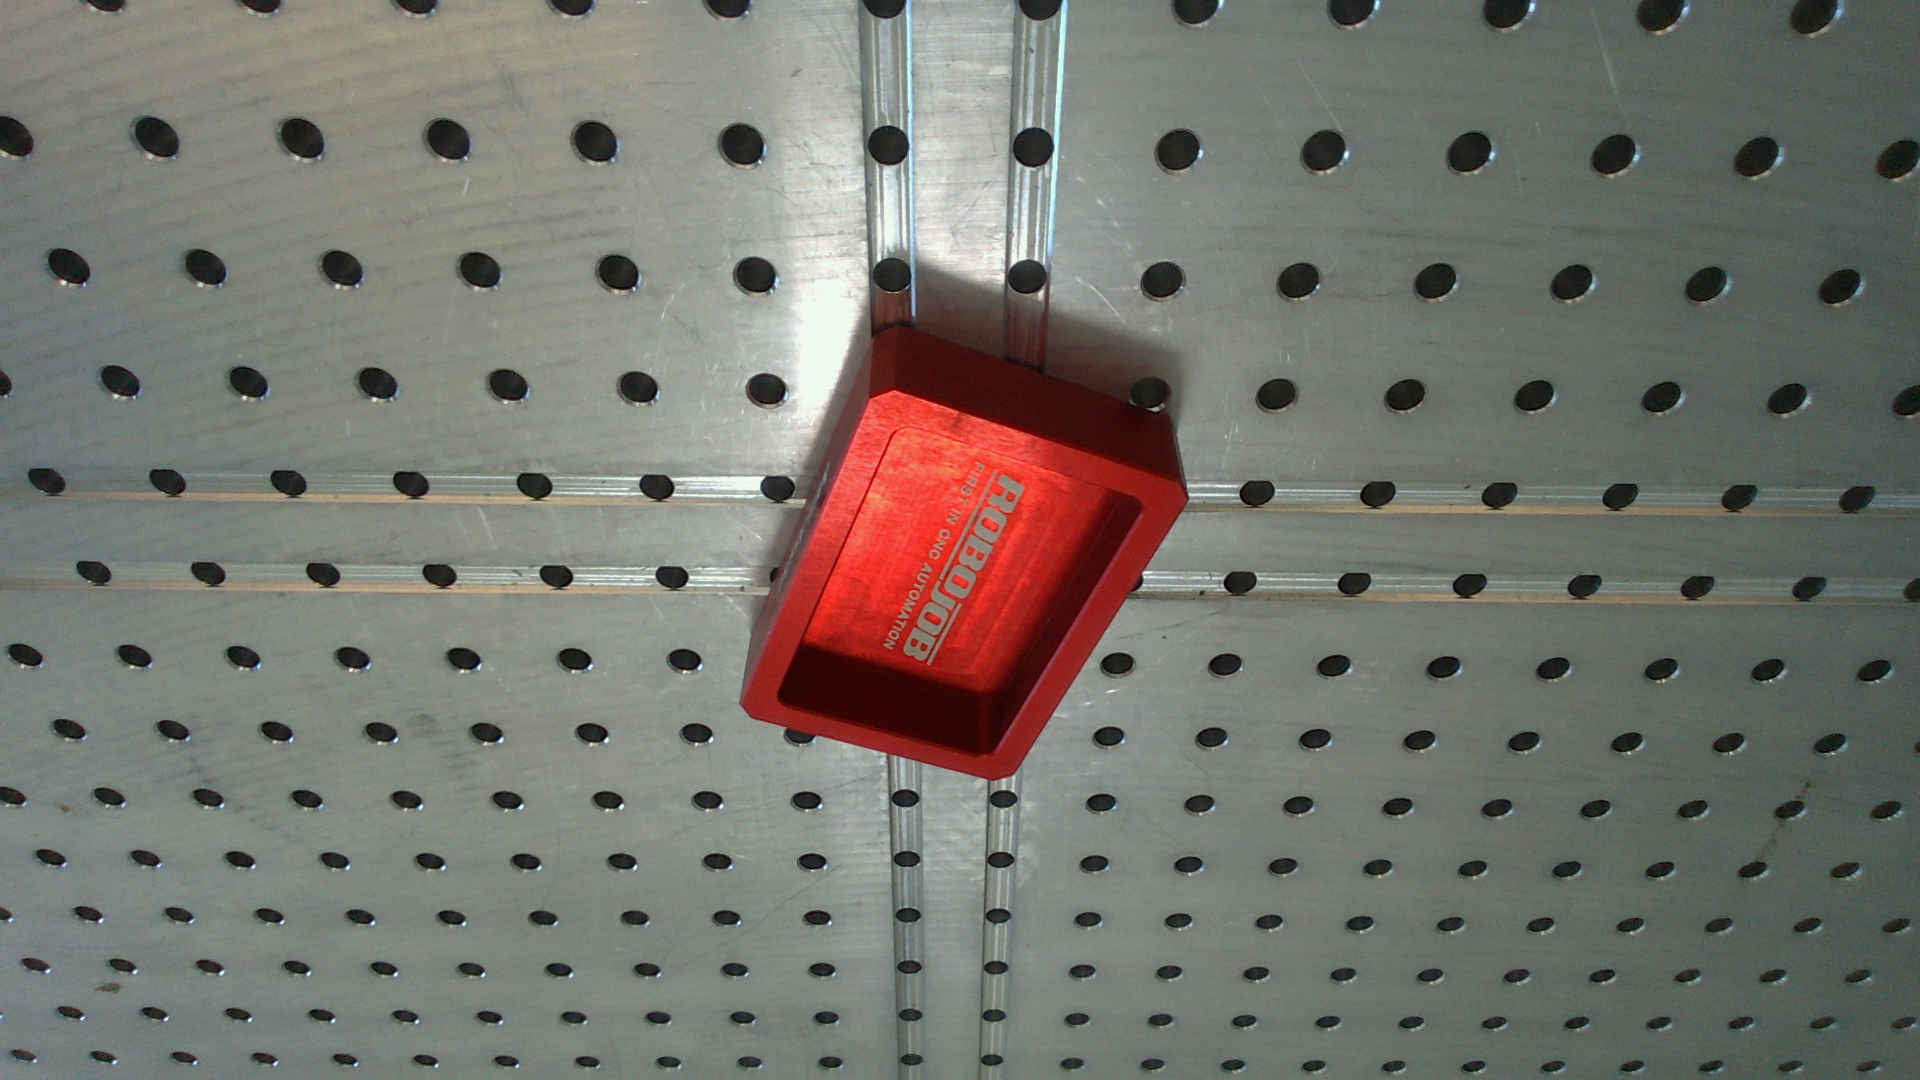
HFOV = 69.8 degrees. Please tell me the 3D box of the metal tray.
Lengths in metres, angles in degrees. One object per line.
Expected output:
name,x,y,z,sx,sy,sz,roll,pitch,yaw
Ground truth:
metal tray,-0.003,0.010,0.398,0.090,0.030,0.130,16,128,-14
